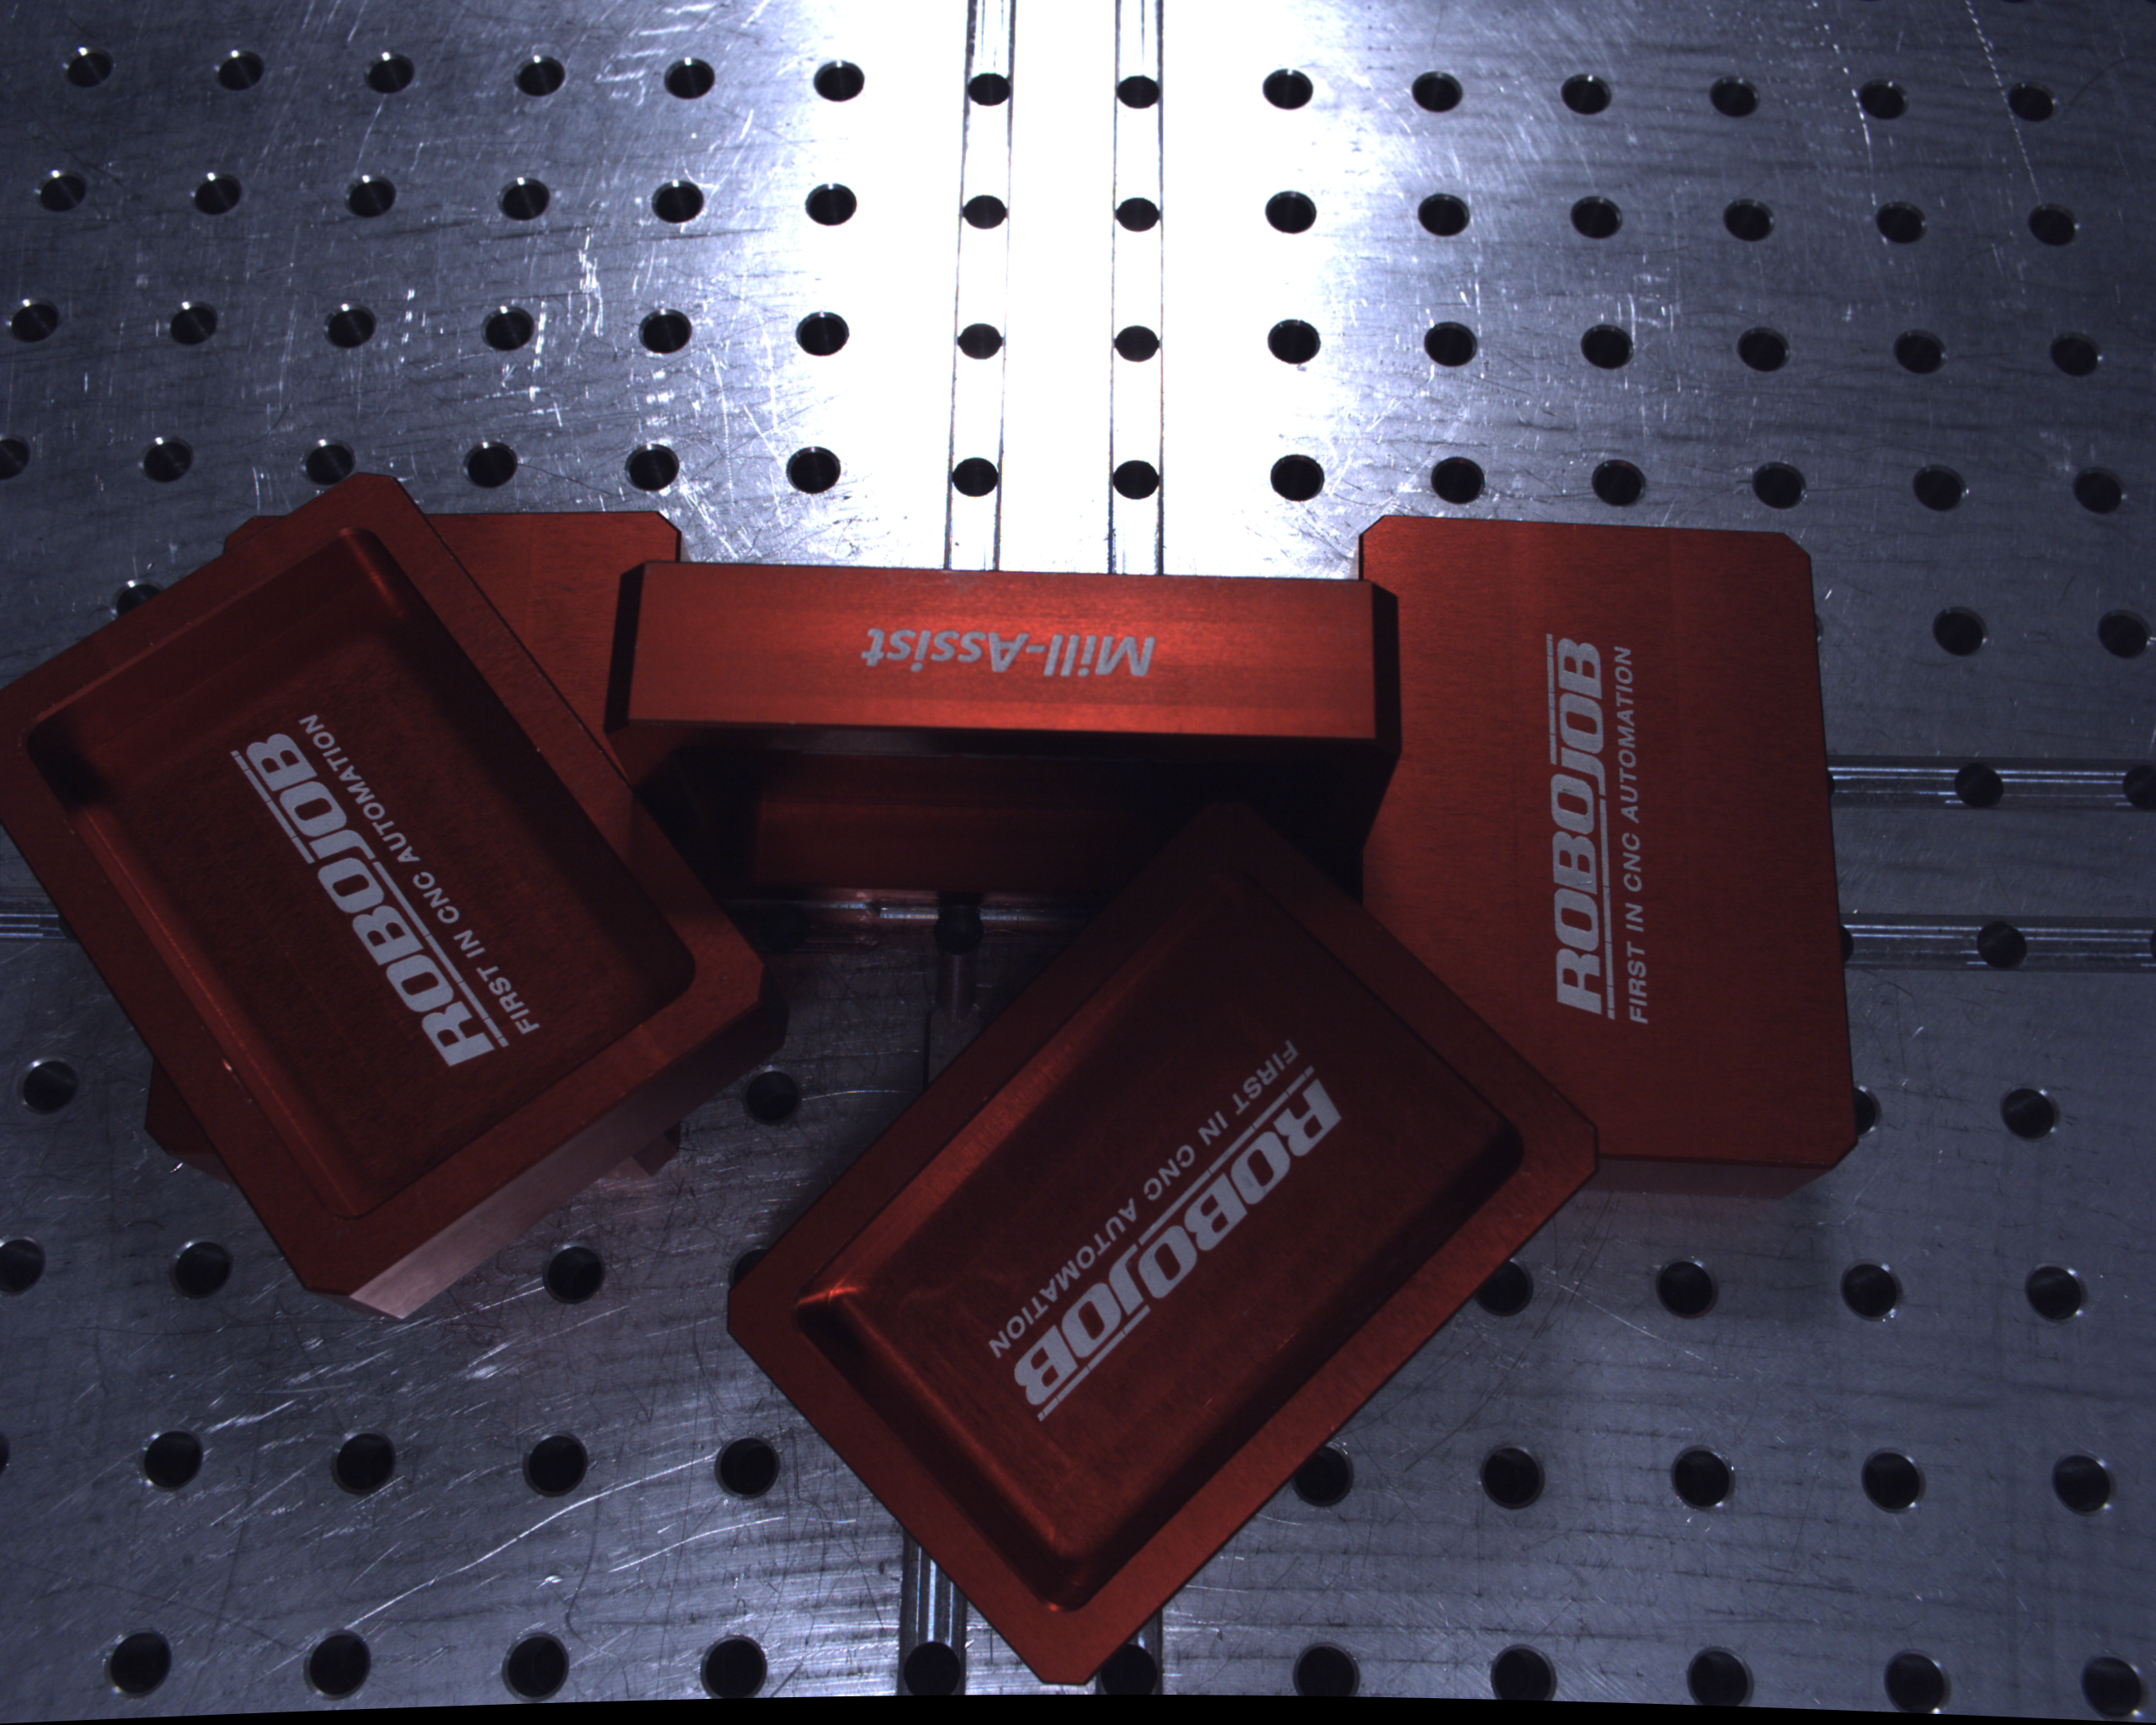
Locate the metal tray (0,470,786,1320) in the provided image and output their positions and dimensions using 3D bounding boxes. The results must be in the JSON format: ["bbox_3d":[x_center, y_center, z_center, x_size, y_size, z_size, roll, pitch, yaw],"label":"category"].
[{"bbox_3d":[-0.125,0.003,0.373,0.090,0.030,0.130,-36,75,-13],"label":"metal tray"}]

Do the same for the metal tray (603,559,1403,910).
[{"bbox_3d":[-0.012,-0.020,0.383,0.131,0.090,0.030,1,70,0],"label":"metal tray"}]

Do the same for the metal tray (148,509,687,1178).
[{"bbox_3d":[-0.123,-0.005,0.409,0.091,0.030,0.129,-1,71,-1],"label":"metal tray"}]

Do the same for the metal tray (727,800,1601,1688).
[{"bbox_3d":[0.015,0.065,0.366,0.130,0.030,0.090,-46,77,2],"label":"metal tray"}]

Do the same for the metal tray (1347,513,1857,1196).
[{"bbox_3d":[0.098,-0.003,0.410,0.091,0.030,0.130,3,70,0],"label":"metal tray"}]
